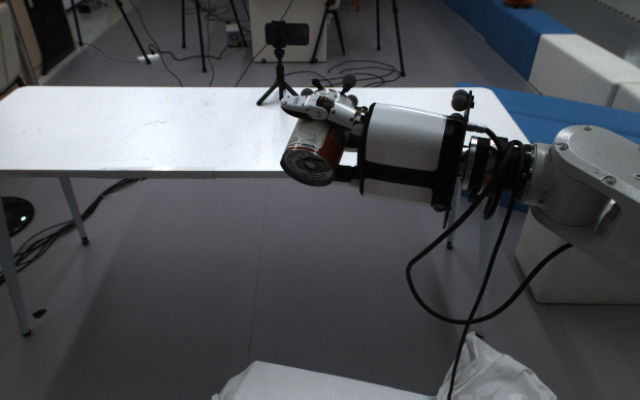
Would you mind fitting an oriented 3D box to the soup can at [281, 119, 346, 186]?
[{"bbox_3d":[0.000,-0.078,0.590,0.067,0.067,0.101,12,59,14],"label":"soup can"}]
